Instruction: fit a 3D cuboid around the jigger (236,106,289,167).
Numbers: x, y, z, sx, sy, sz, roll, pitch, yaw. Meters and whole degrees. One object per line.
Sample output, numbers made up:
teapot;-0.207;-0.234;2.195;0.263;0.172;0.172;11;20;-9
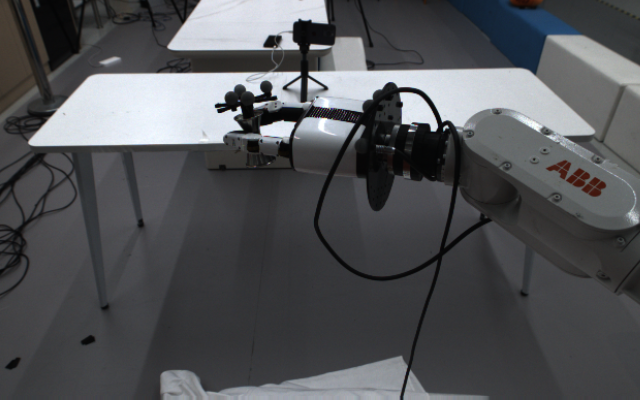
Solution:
jigger;-0.087;-0.085;0.662;0.043;0.071;0.043;-10;24;5
